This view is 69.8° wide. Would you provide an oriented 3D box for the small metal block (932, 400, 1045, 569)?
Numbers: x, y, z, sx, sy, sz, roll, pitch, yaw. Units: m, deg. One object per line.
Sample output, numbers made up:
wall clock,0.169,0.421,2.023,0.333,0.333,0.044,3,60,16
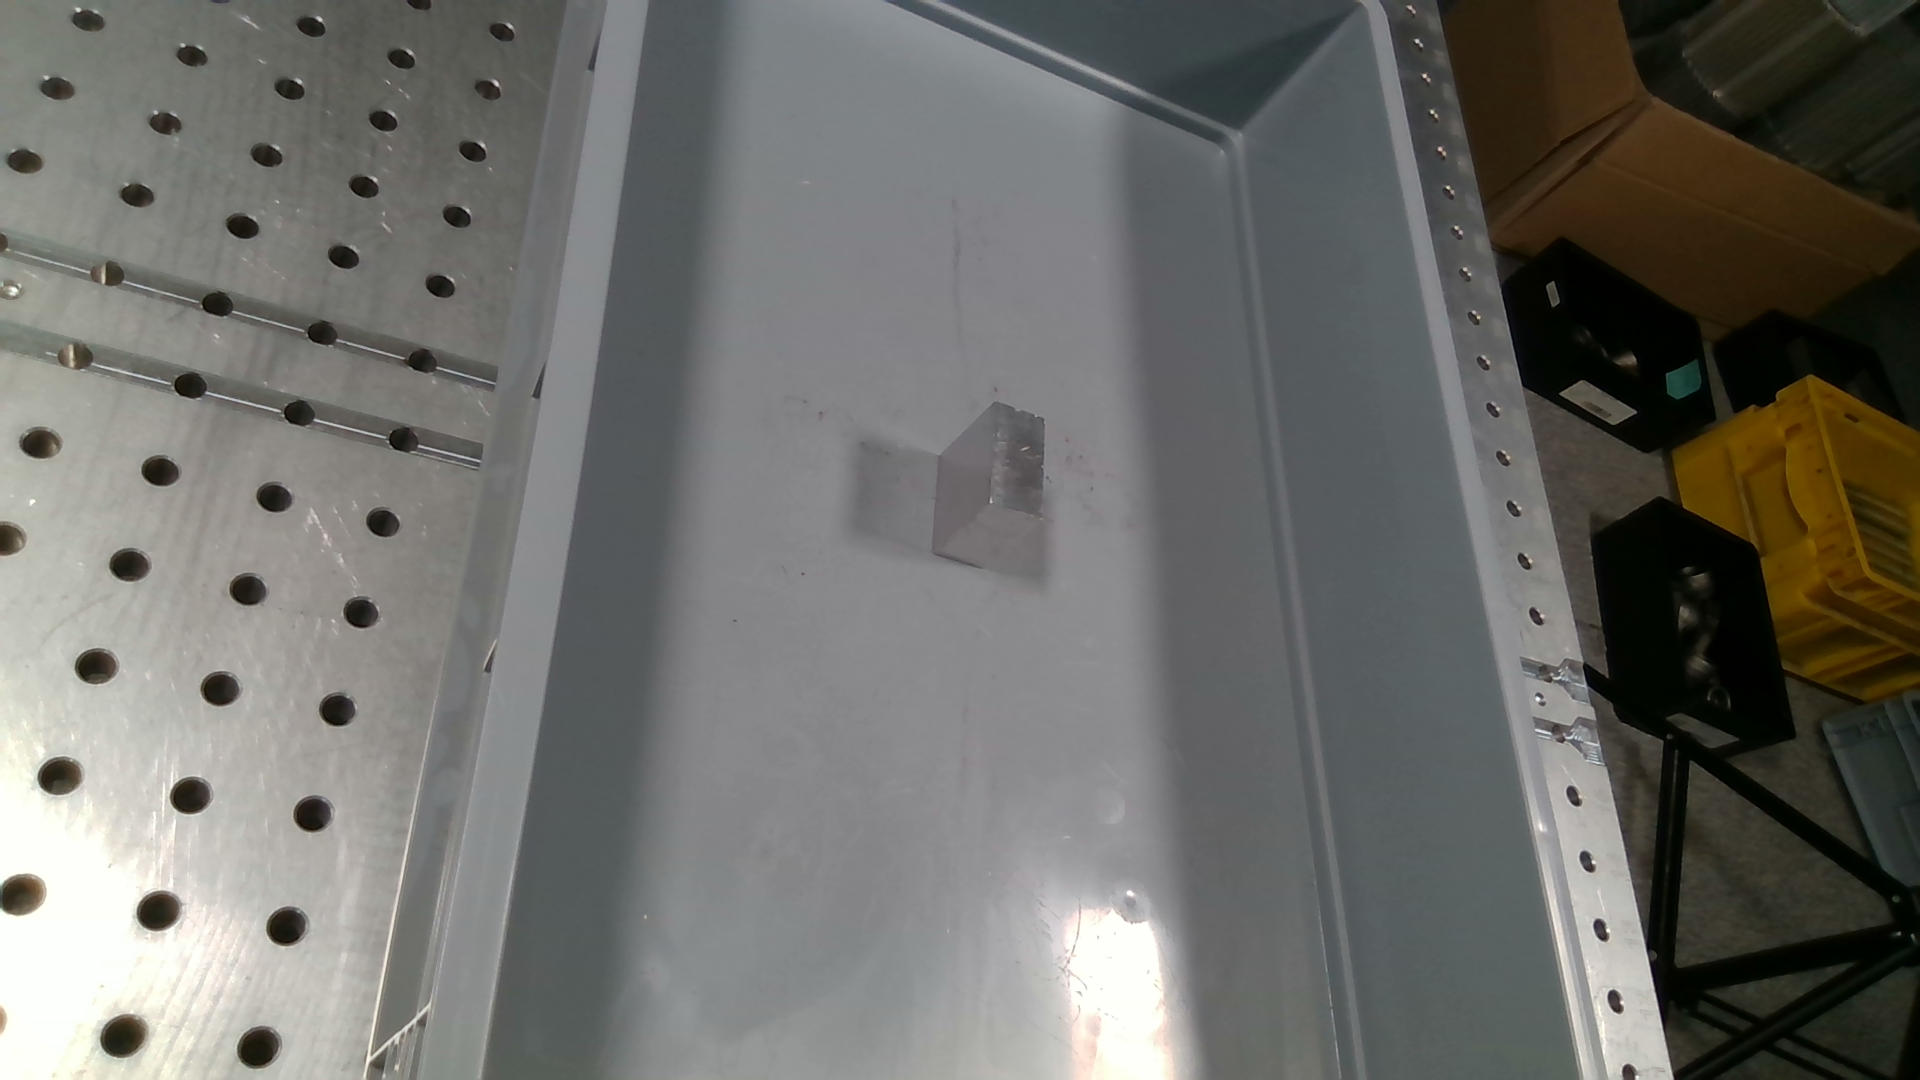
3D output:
small metal block,0.012,-0.023,0.586,0.025,0.050,0.050,17,57,-23
